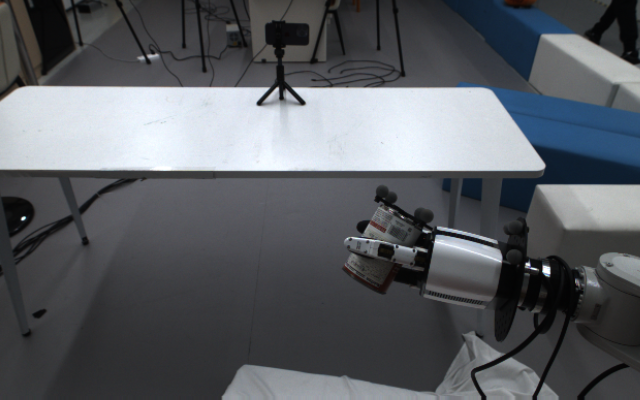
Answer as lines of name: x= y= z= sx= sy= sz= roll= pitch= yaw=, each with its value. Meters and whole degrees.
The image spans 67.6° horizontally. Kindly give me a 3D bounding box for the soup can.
soup can: x=0.085 y=0.065 z=0.646 sx=0.067 sy=0.101 sz=0.067 roll=30 pitch=2 yaw=-1
